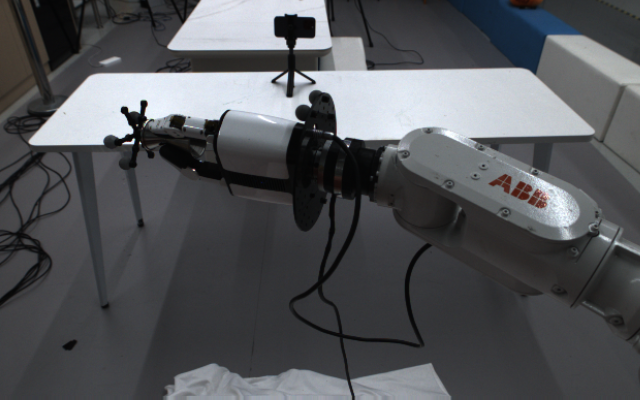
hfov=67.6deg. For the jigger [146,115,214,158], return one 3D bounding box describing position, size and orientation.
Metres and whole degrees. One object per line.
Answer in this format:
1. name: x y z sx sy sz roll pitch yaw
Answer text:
1. jigger: -0.176 -0.082 0.603 0.071 0.043 0.043 7 35 14
